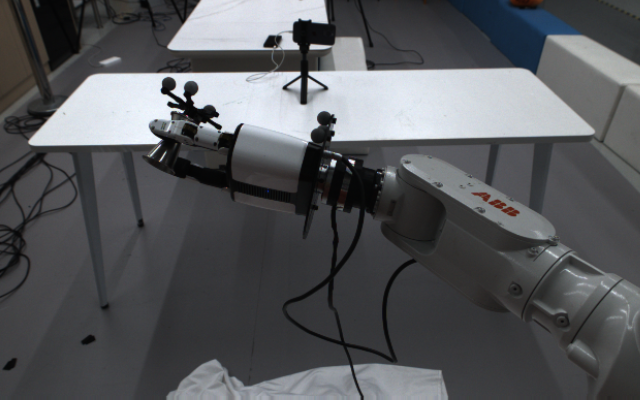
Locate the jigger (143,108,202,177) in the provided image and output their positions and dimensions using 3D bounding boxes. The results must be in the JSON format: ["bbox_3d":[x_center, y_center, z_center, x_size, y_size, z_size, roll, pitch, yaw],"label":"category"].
[{"bbox_3d":[-0.184,-0.074,0.601,0.043,0.043,0.071,20,73,23],"label":"jigger"}]
